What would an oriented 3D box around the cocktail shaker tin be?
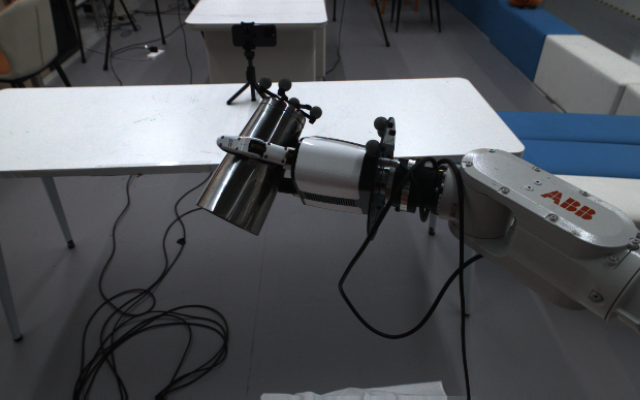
[{"bbox_3d":[-0.084,-0.051,0.647,0.093,0.093,0.170,21,81,25],"label":"cocktail shaker tin"}]
